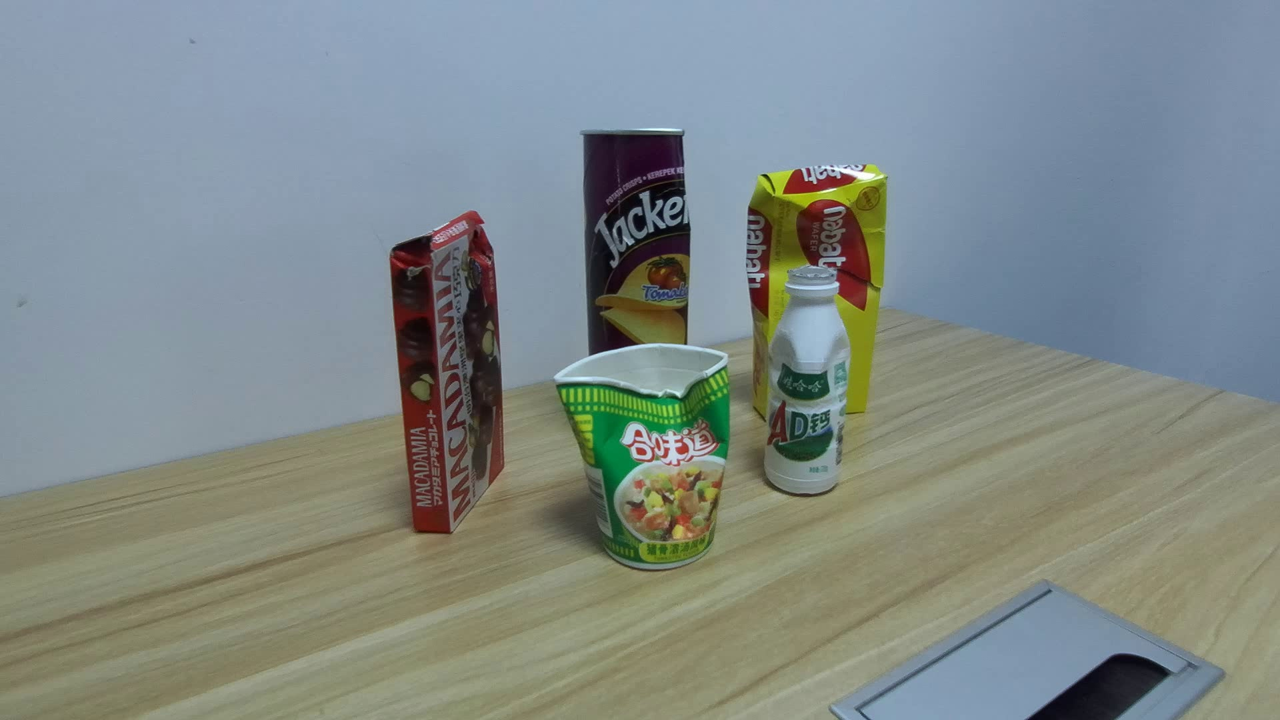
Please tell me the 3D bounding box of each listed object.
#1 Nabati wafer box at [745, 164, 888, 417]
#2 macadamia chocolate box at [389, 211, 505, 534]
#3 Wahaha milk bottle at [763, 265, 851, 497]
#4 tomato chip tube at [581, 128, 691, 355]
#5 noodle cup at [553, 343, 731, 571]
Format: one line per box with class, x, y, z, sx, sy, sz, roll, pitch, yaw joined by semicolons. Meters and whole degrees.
Nabati wafer box;0.139;-0.052;0.574;0.107;0.204;0.042;-4;20;-10
macadamia chocolate box;-0.118;0.005;0.454;0.027;0.187;0.103;5;19;9
Wahaha milk bottle;0.109;0.014;0.466;0.055;0.149;0.055;-1;19;1
tomato chip tube;-0.002;-0.047;0.522;0.076;0.235;0.077;-2;17;0
noodle cup;0.011;0.054;0.412;0.082;0.122;0.075;-4;9;24
